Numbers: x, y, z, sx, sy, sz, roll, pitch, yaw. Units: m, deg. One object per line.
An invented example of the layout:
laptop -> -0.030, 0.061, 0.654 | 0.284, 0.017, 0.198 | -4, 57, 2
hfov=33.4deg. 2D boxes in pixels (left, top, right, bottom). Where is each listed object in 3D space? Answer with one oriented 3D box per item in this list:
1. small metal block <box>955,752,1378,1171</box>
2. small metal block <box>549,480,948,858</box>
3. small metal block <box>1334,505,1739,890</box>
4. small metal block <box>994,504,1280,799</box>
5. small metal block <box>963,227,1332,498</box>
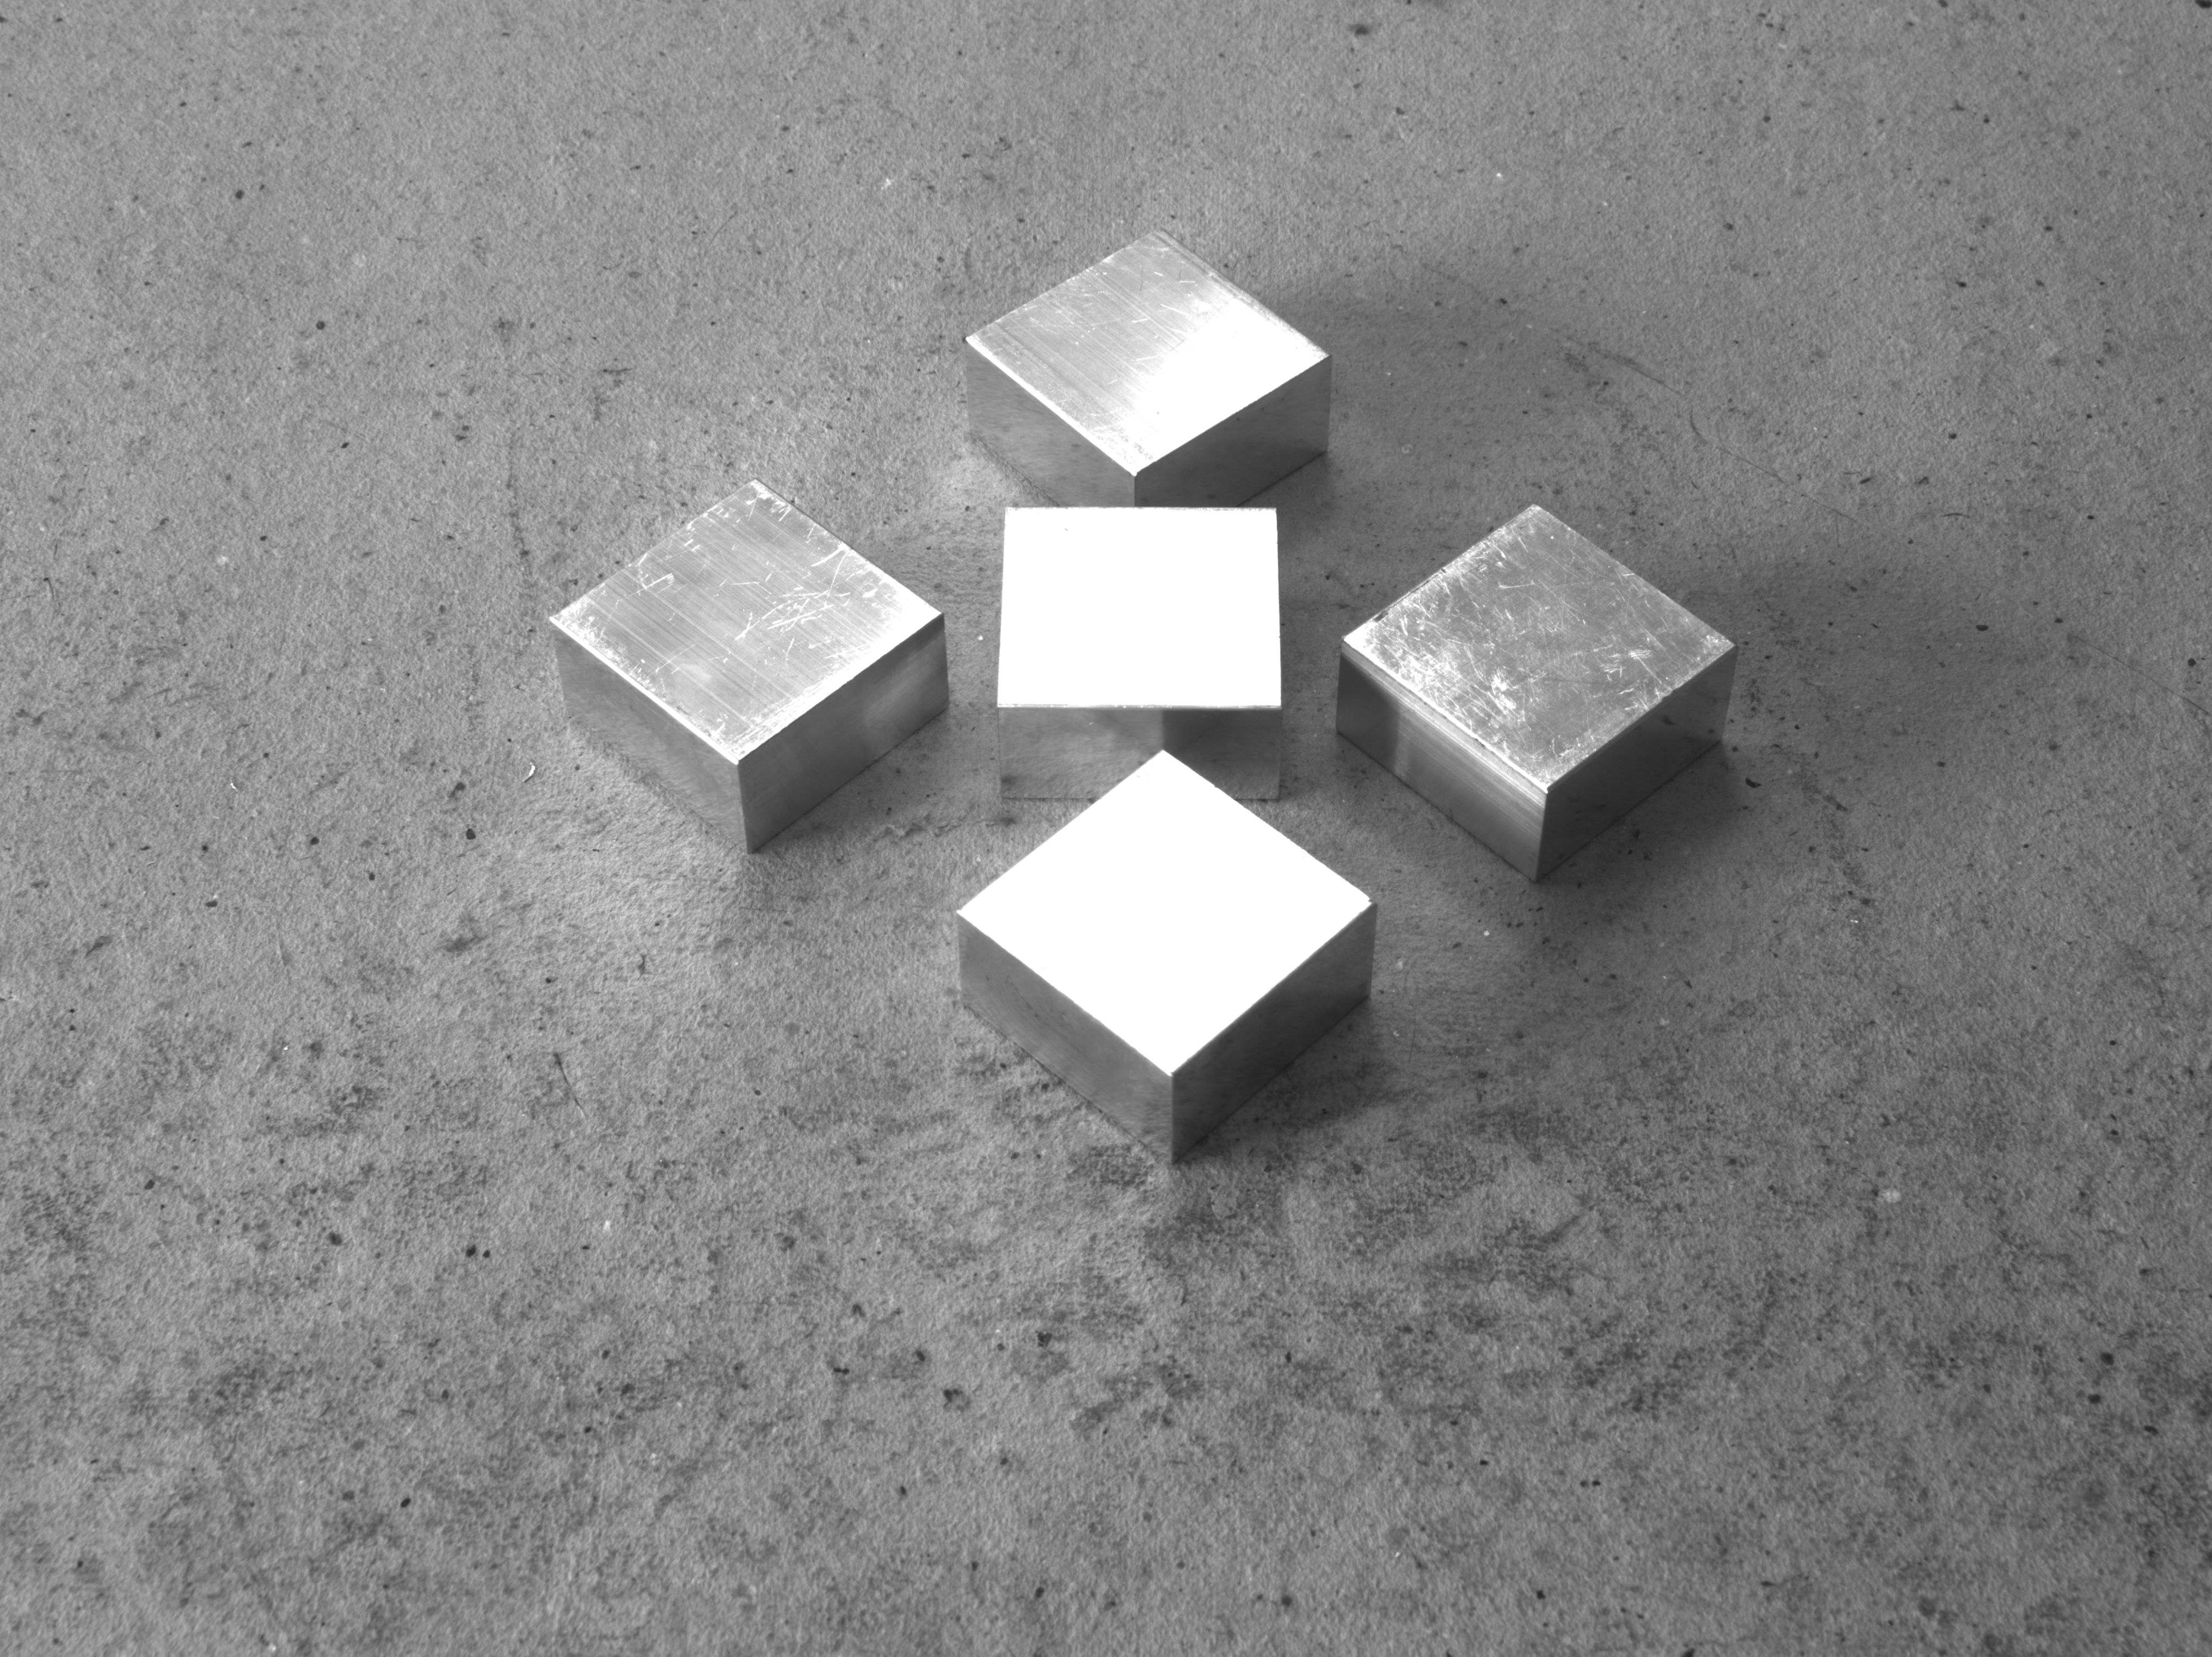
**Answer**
small metal block -> 0.010, 0.022, 0.625 | 0.050, 0.025, 0.050 | 37, 58, 26
small metal block -> -0.064, -0.030, 0.669 | 0.050, 0.025, 0.050 | 36, 58, 26
small metal block -> 0.077, -0.024, 0.664 | 0.050, 0.025, 0.050 | -36, 58, -26
small metal block -> 0.006, -0.032, 0.670 | 0.050, 0.025, 0.050 | 0, 50, 1
small metal block -> 0.008, -0.084, 0.713 | 0.050, 0.025, 0.050 | -33, 57, -25
